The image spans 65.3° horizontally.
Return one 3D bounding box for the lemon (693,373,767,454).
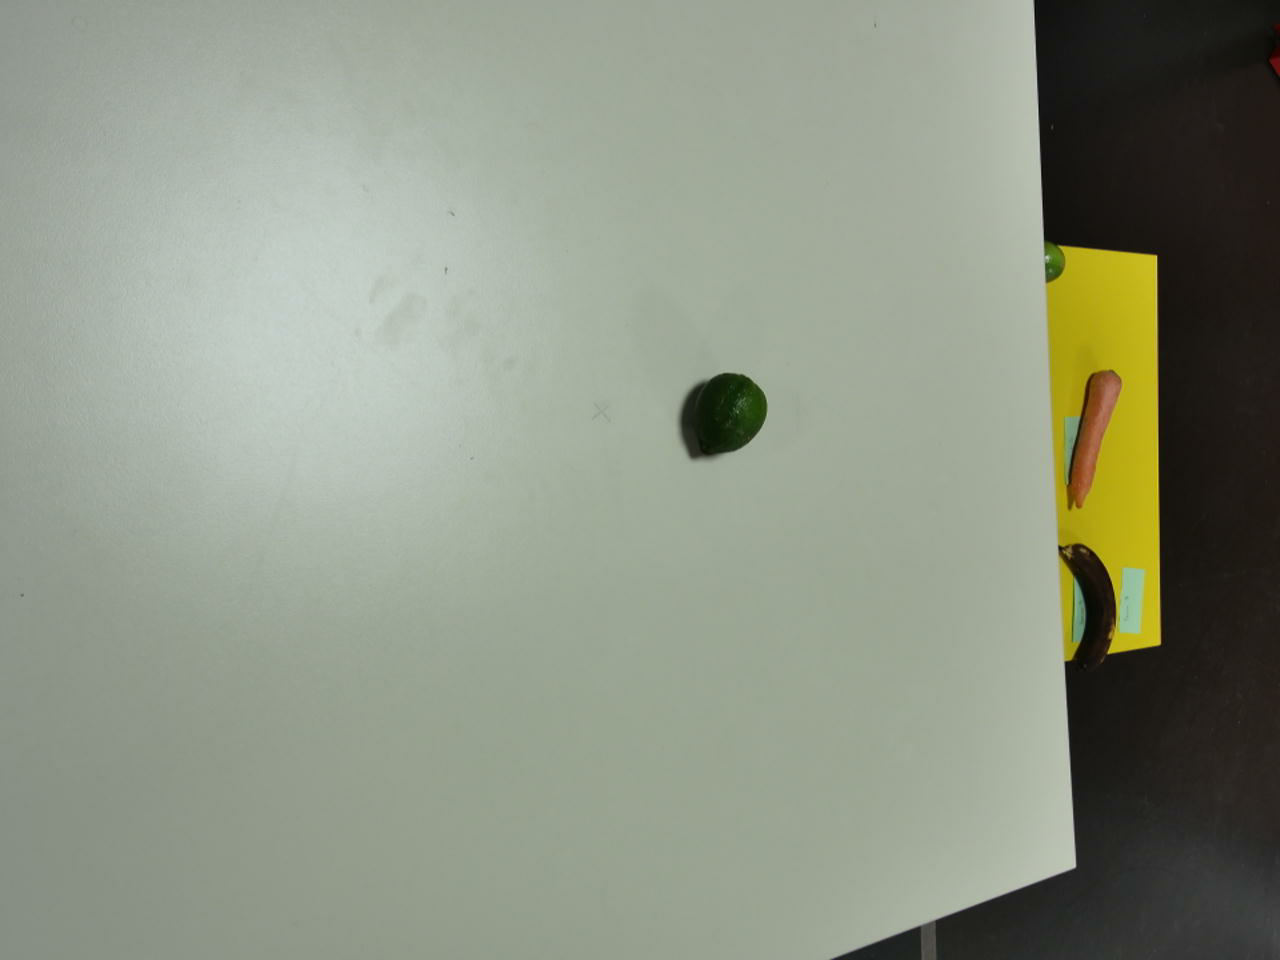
[{"bbox_3d":[0.065,-0.049,0.722,0.054,0.051,0.057,-10,95,-28],"label":"lemon"}]
